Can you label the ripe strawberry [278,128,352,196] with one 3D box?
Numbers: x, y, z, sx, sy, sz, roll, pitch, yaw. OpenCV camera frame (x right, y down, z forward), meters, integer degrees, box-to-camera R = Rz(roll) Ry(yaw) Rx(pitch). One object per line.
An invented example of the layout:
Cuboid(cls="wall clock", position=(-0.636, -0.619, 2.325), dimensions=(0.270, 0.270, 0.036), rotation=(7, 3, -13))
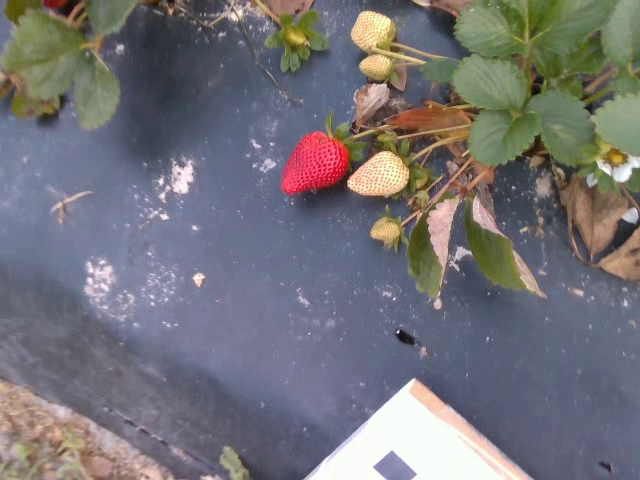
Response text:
Cuboid(cls="ripe strawberry", position=(-0.005, -0.052, 0.416), dimensions=(0.050, 0.059, 0.034), rotation=(34, -22, 15))
